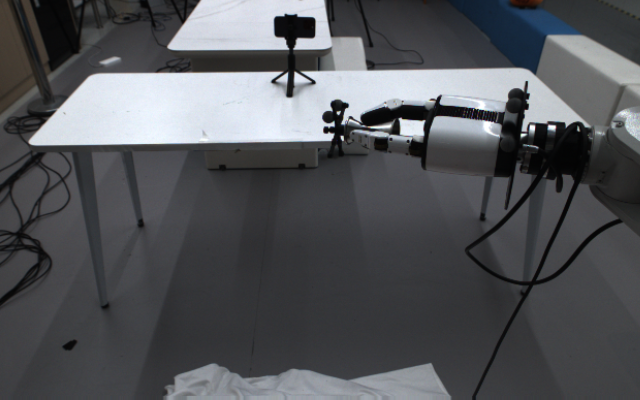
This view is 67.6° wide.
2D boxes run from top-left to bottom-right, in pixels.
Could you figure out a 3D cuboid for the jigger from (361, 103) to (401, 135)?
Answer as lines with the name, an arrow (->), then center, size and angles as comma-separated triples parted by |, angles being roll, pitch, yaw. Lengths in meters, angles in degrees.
jigger -> 0.077, -0.096, 0.662 | 0.071, 0.043, 0.043 | 8, 34, 23
